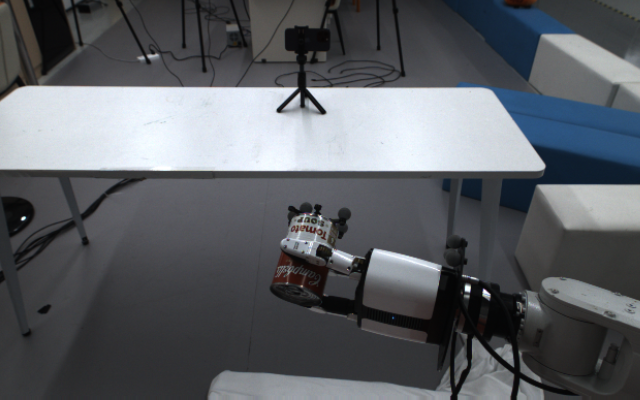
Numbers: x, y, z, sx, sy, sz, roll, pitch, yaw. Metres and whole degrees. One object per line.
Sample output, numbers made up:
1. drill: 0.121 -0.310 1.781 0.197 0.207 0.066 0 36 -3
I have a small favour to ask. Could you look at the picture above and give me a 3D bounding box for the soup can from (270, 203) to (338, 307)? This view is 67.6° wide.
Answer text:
1. soup can: -0.016 0.075 0.622 0.067 0.067 0.101 9 61 10
